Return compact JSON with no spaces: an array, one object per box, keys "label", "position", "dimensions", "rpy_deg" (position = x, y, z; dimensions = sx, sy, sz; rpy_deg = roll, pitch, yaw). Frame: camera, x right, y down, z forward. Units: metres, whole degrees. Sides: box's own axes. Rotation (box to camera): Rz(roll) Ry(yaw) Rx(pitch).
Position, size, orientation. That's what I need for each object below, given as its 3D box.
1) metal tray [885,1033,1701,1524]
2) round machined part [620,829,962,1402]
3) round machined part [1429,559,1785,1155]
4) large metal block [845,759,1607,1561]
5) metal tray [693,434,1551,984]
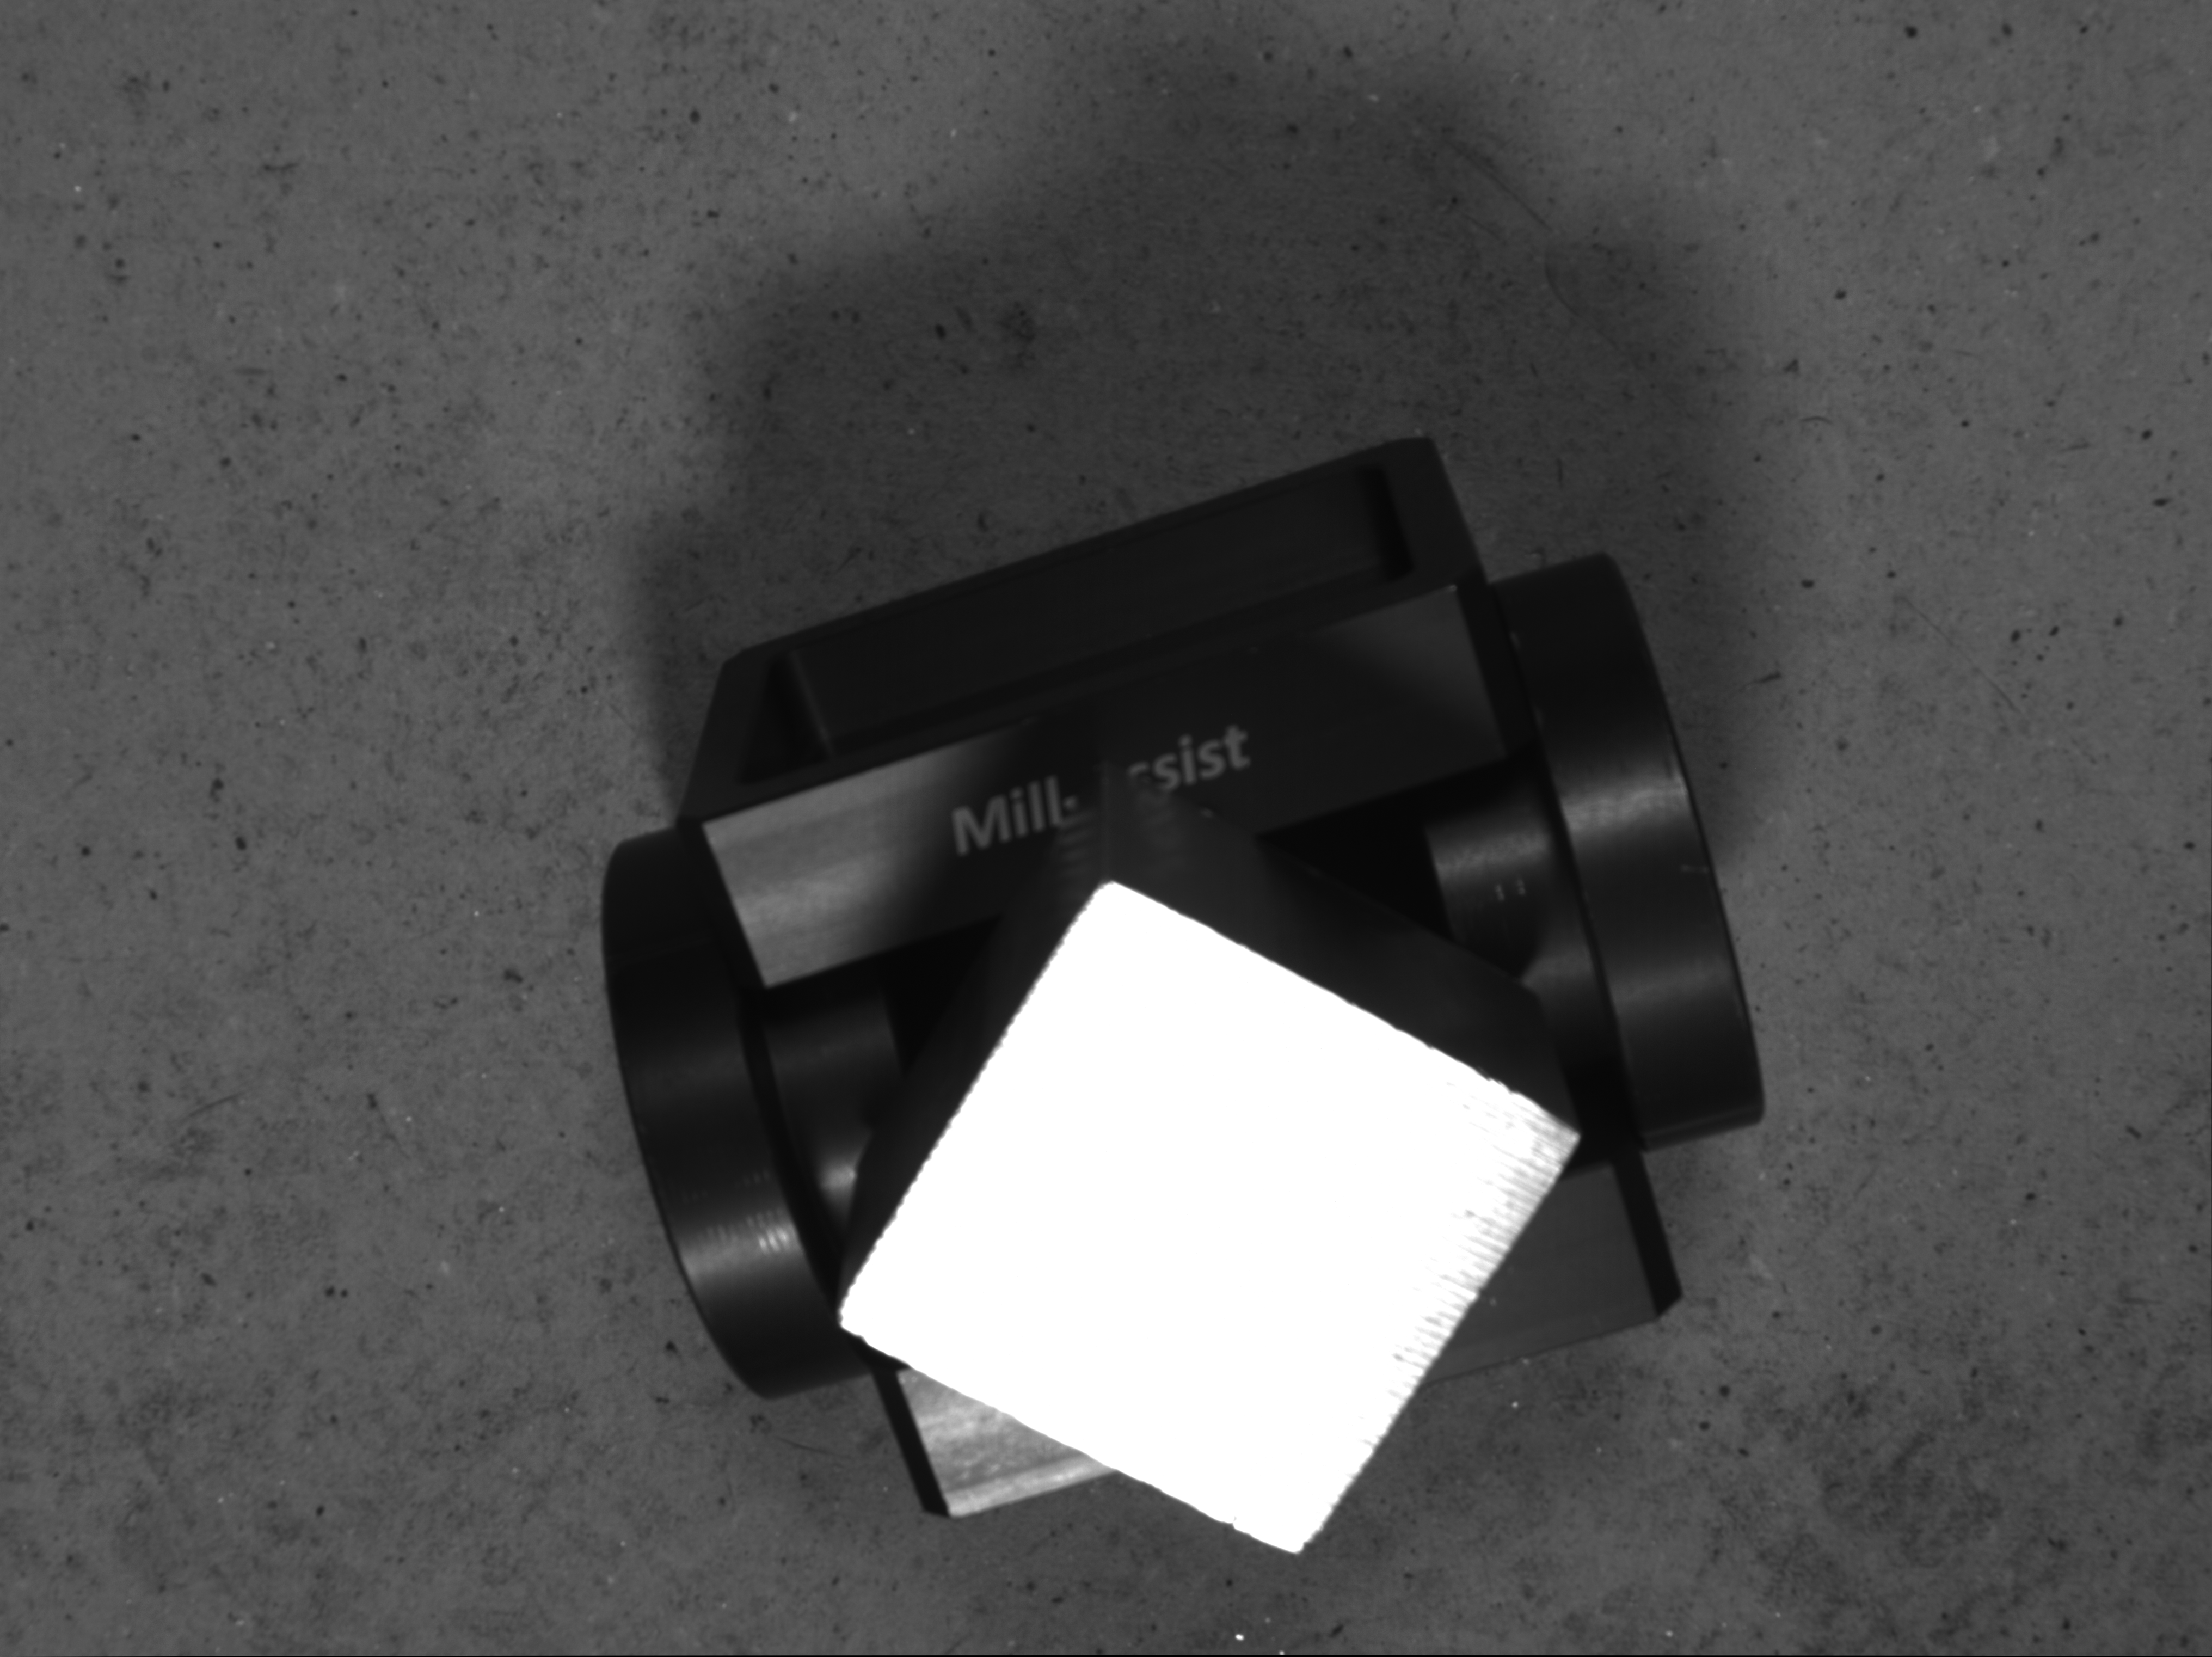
[{"label":"metal tray","position":[0.030,0.069,0.632],"dimensions":[0.130,0.090,0.030],"rpy_deg":[-17,109,5]},{"label":"round machined part","position":[-0.046,0.044,0.620],"dimensions":[0.042,0.098,0.098],"rpy_deg":[-15,109,5]},{"label":"round machined part","position":[0.079,0.007,0.608],"dimensions":[0.042,0.098,0.098],"rpy_deg":[-15,109,5]},{"label":"large metal block","position":[0.017,0.049,0.550],"dimensions":[0.080,0.050,0.080],"rpy_deg":[28,107,-10]},{"label":"metal tray","position":[0.002,-0.022,0.602],"dimensions":[0.130,0.090,0.030],"rpy_deg":[-17,109,6]}]
